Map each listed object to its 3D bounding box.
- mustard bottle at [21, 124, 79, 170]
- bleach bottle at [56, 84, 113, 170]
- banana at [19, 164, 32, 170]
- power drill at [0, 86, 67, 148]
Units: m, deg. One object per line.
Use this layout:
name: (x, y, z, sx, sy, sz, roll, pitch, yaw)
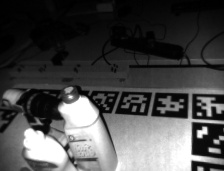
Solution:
mustard bottle: (-0.144, 0.147, 0.466, 0.095, 0.193, 0.058, 2, 44, 18)
bleach bottle: (-0.068, 0.092, 0.469, 0.101, 0.253, 0.068, 3, 38, 21)
banana: (-0.153, 0.230, 0.508, 0.195, 0.039, 0.074, 3, 45, 23)
power drill: (-0.168, 0.083, 0.515, 0.182, 0.188, 0.057, 11, 46, 26)
